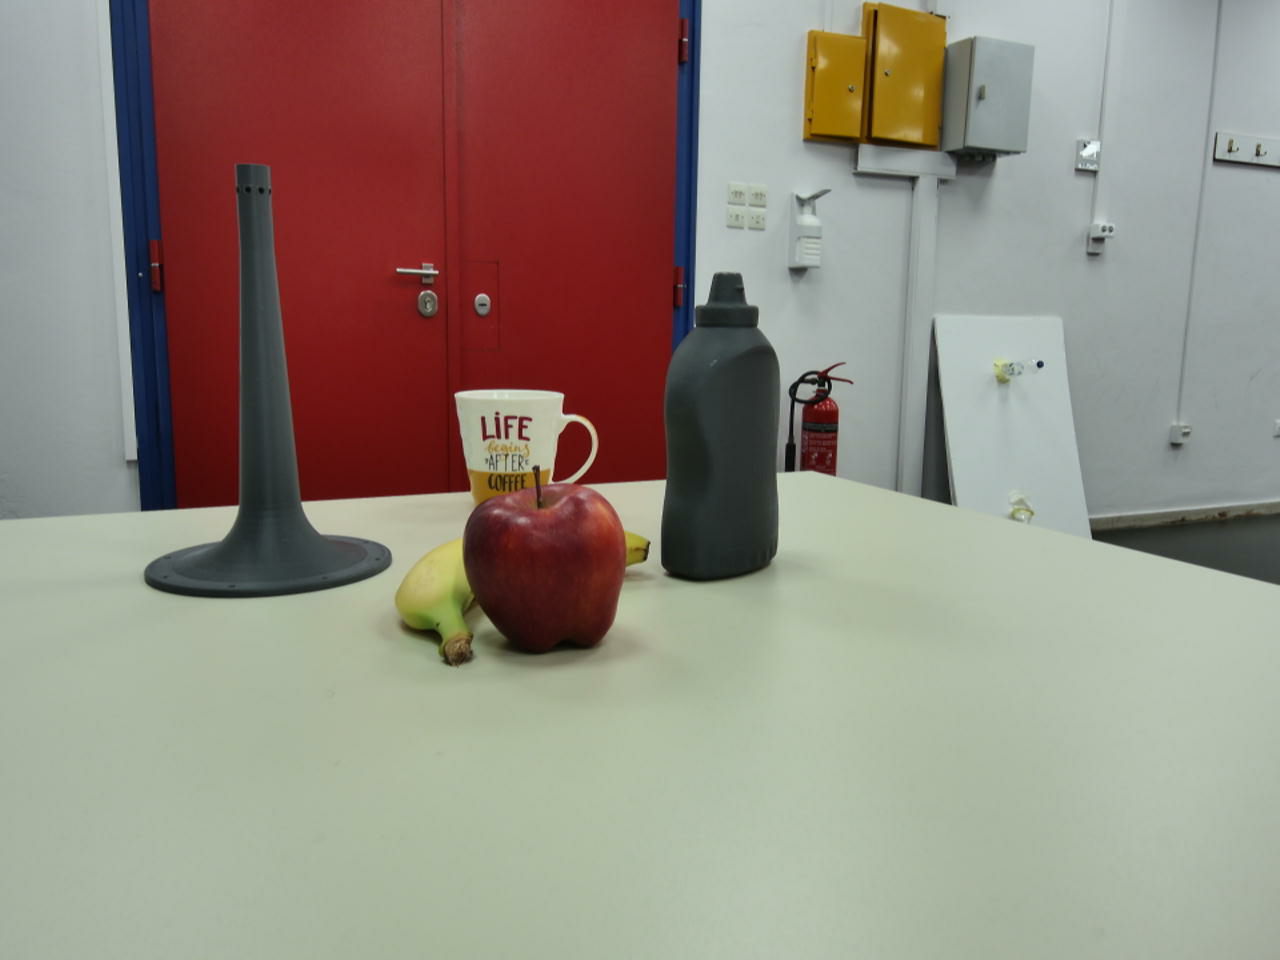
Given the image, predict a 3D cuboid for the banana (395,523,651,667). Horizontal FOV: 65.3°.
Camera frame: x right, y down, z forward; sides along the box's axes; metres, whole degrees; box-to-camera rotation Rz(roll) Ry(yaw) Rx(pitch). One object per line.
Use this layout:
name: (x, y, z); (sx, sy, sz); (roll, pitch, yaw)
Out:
banana: (-0.078, 0.053, 0.574); (0.094, 0.041, 0.196); (5, 8, 29)
